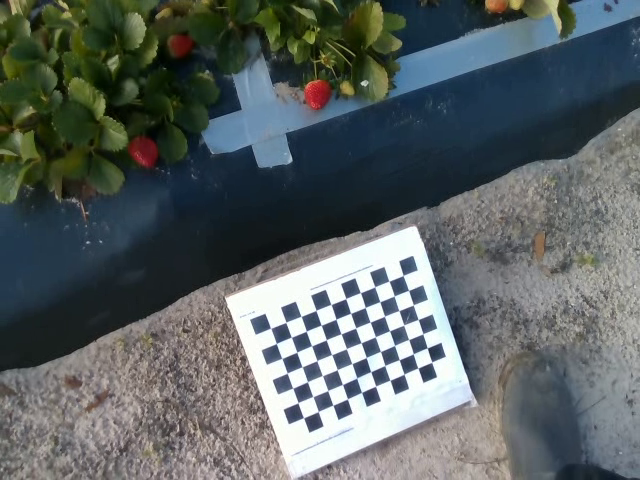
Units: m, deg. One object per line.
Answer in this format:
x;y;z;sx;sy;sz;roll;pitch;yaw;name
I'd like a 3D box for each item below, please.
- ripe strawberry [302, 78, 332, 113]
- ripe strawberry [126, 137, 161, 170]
-0.001;-0.096;0.408;0.023;0.026;0.020;-11;-37;13;ripe strawberry
-0.110;-0.054;0.382;0.018;0.023;0.021;-28;-23;7;ripe strawberry
